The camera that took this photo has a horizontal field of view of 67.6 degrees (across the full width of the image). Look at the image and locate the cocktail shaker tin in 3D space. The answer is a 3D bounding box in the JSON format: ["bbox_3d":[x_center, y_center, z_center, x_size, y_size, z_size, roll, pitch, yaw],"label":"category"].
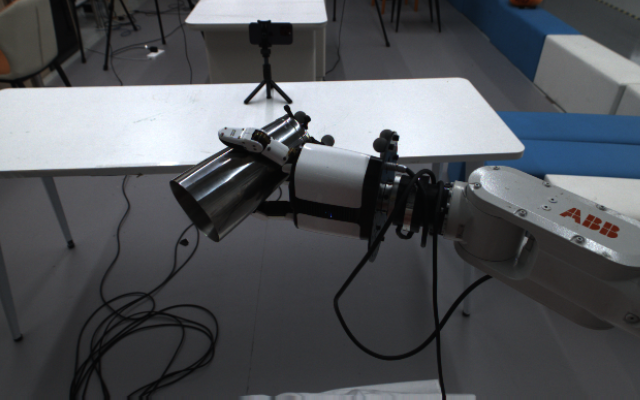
[{"bbox_3d":[-0.091,-0.040,0.611,0.170,0.093,0.093,-38,49,-24],"label":"cocktail shaker tin"}]
